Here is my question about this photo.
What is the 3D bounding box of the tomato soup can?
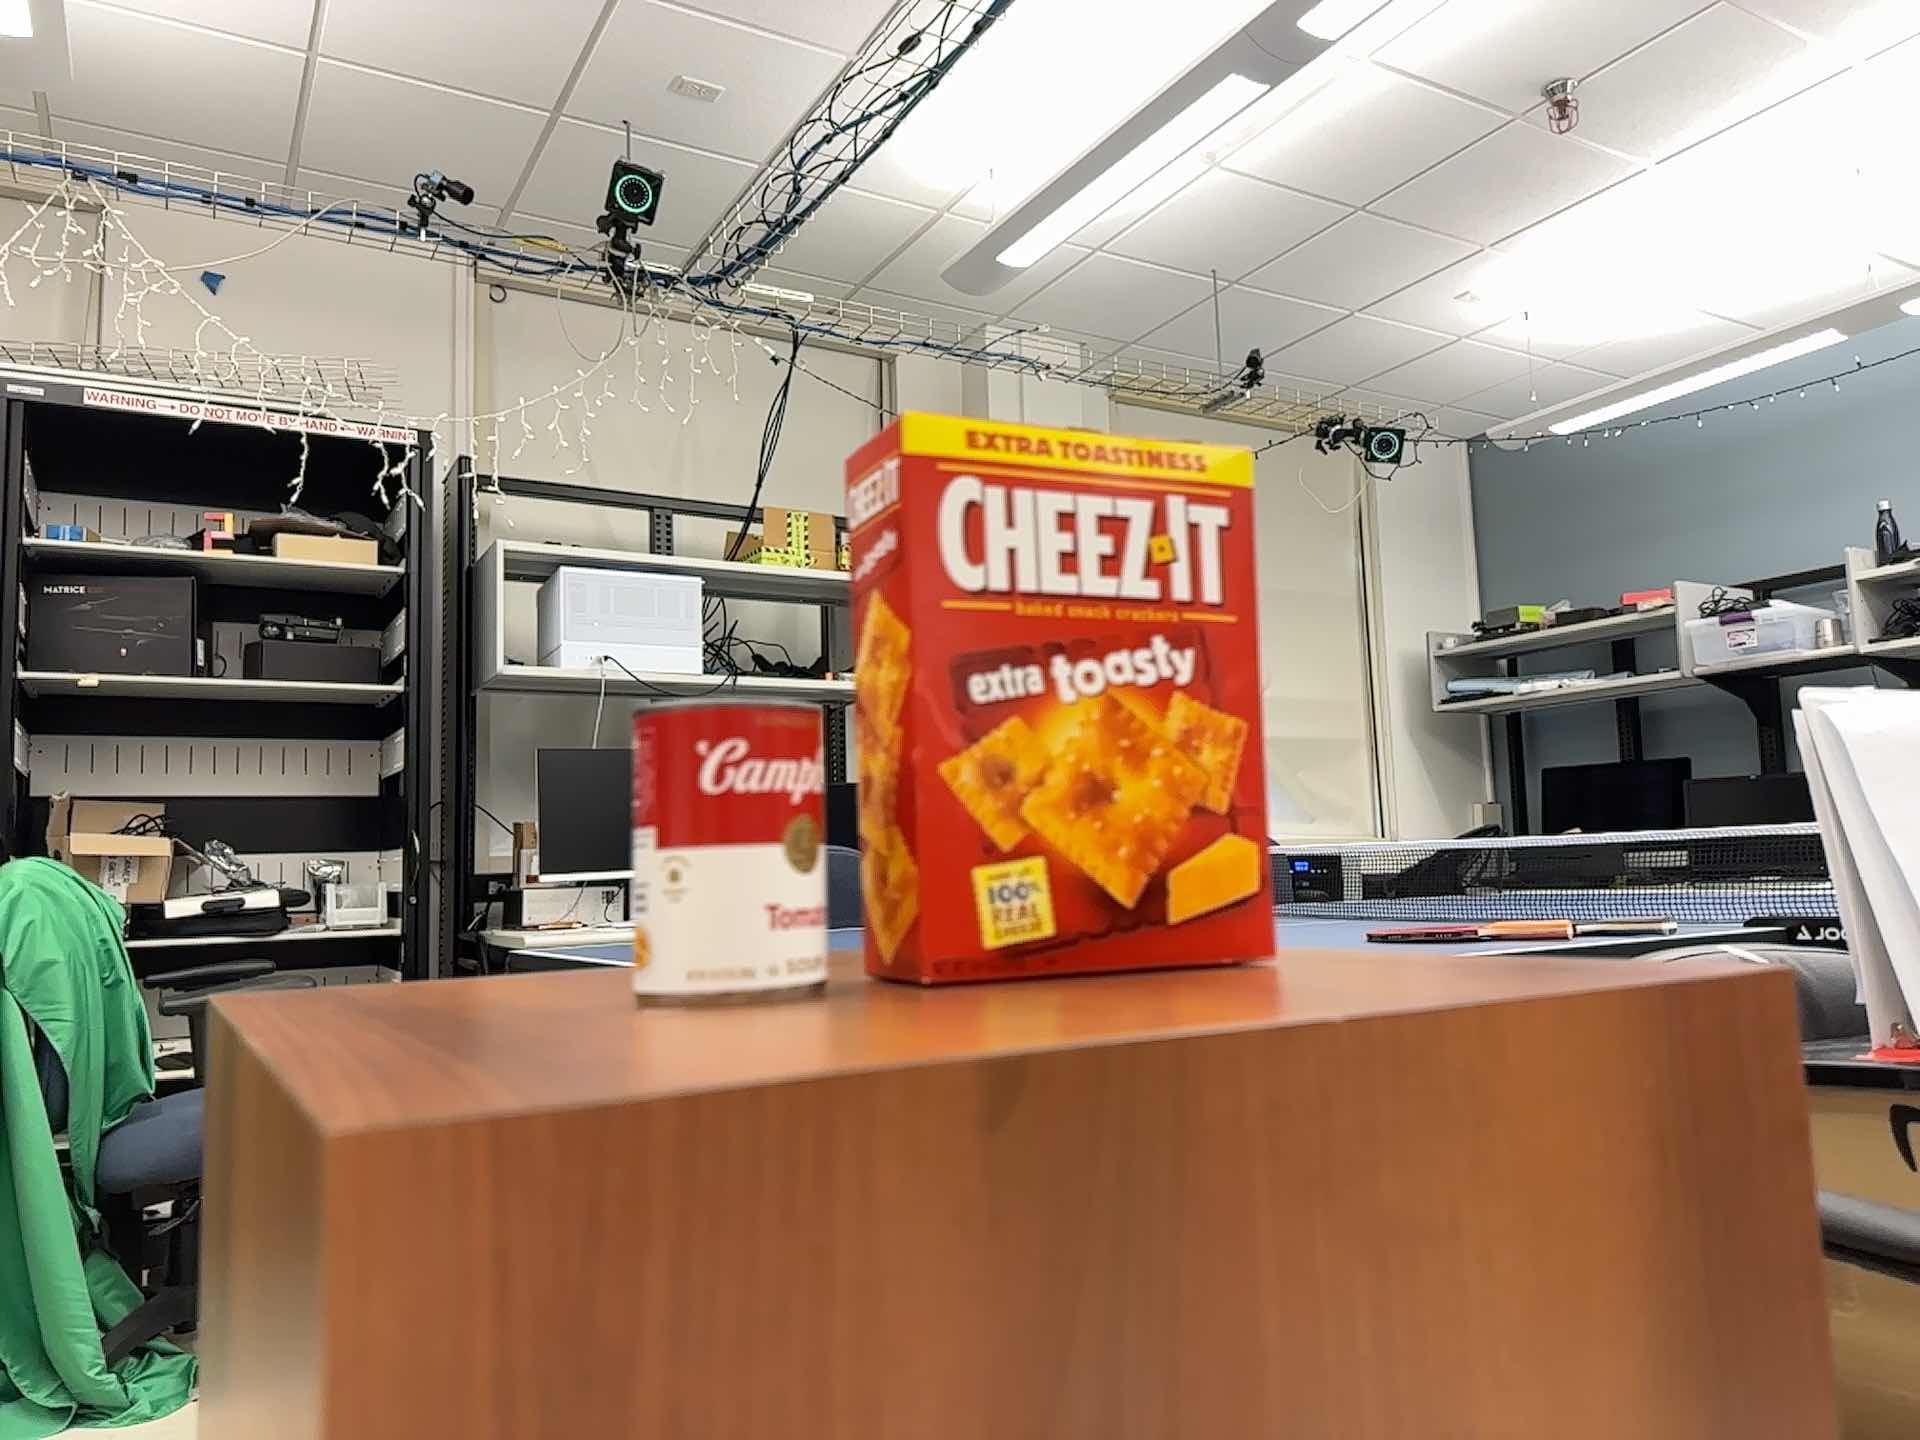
[{"bbox_3d":[-0.081,0.044,0.467,0.067,0.102,0.067,-1,-9,0],"label":"tomato soup can"}]

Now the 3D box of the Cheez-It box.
[{"bbox_3d":[0.041,-0.007,0.547,0.159,0.214,0.062,3,-8,-26],"label":"Cheez-It box"}]
